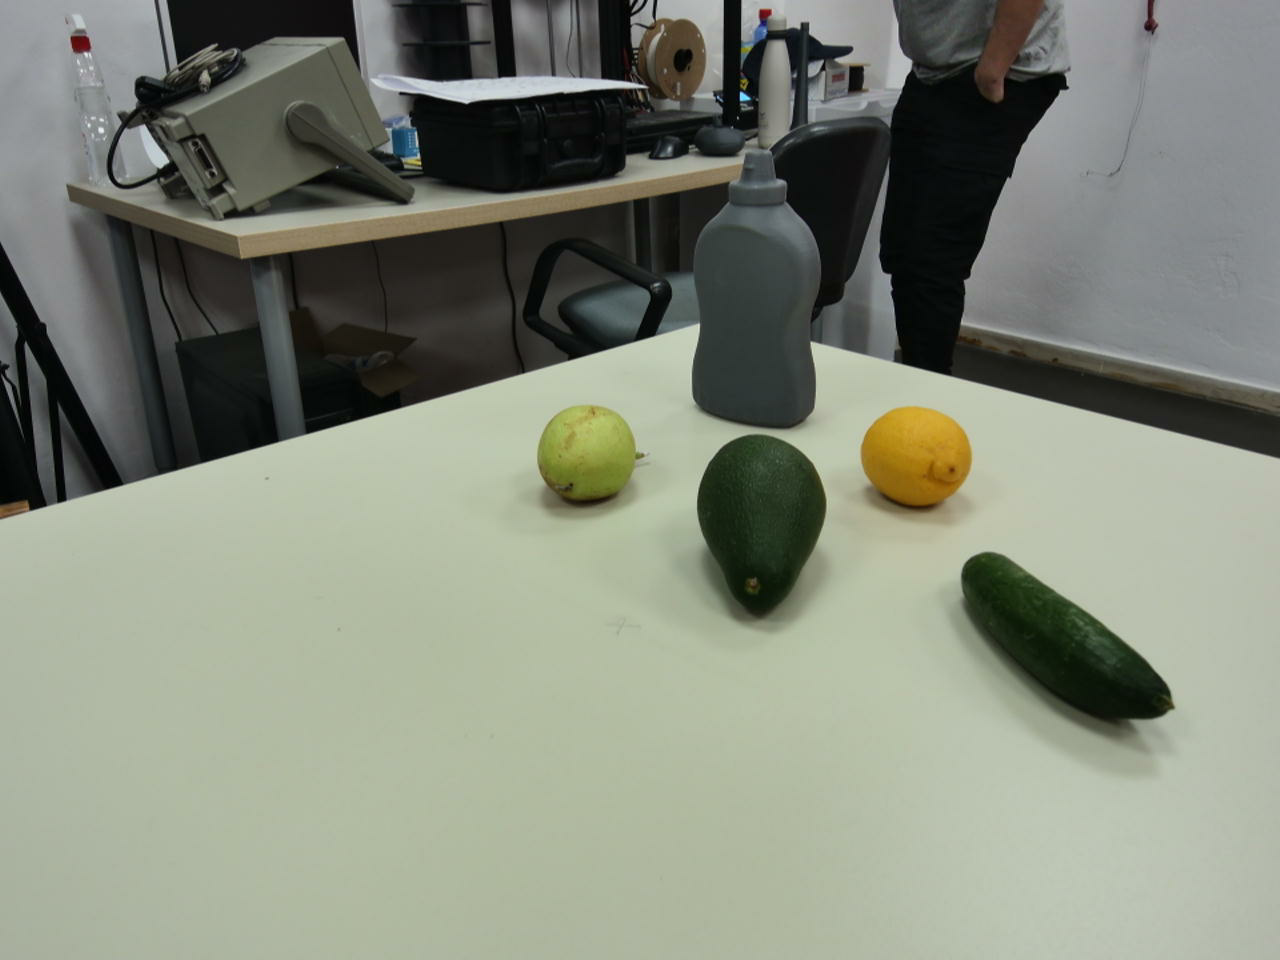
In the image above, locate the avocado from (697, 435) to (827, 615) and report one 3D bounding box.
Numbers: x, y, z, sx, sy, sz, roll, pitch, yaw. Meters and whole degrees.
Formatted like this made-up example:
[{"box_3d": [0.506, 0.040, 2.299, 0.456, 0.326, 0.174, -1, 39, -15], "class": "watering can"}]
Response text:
[{"box_3d": [0.061, 0.018, 0.537, 0.073, 0.071, 0.109, 11, 26, 24], "class": "avocado"}]
